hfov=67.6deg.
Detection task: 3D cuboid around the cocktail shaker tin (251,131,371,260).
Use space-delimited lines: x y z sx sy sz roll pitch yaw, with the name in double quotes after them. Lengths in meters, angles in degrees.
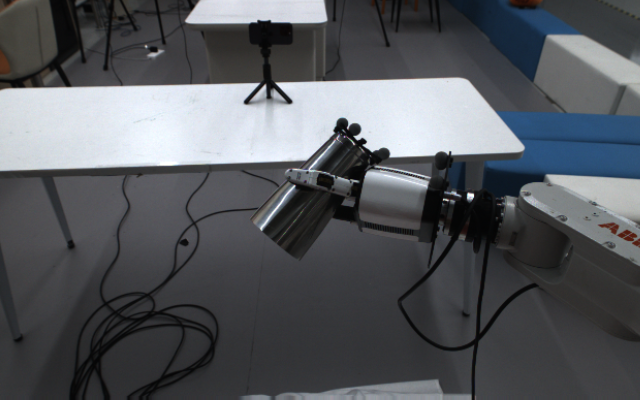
-0.007 -0.012 0.679 0.170 0.093 0.093 -49 49 -2 "cocktail shaker tin"
